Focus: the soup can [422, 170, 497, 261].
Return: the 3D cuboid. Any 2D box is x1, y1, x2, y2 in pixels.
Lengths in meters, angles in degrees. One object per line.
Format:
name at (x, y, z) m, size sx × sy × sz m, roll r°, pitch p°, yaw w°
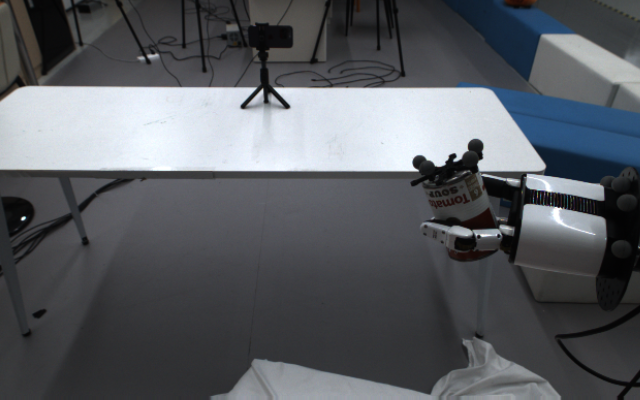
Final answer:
soup can at (0.171, 0.011, 0.575) m, size 0.067 × 0.101 × 0.067 m, roll -23°, pitch 16°, yaw 7°
